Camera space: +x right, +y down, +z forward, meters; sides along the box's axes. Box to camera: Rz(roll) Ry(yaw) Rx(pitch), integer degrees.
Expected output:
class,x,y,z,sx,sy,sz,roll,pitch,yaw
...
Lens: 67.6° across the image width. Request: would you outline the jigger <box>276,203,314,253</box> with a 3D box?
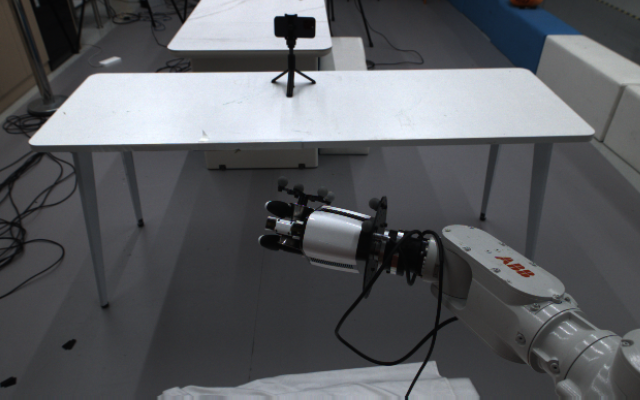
class,x,y,z,sx,sy,sz,roll,pitch,yaw
jigger,-0.039,0.040,0.771,0.043,0.071,0.043,15,-7,2
